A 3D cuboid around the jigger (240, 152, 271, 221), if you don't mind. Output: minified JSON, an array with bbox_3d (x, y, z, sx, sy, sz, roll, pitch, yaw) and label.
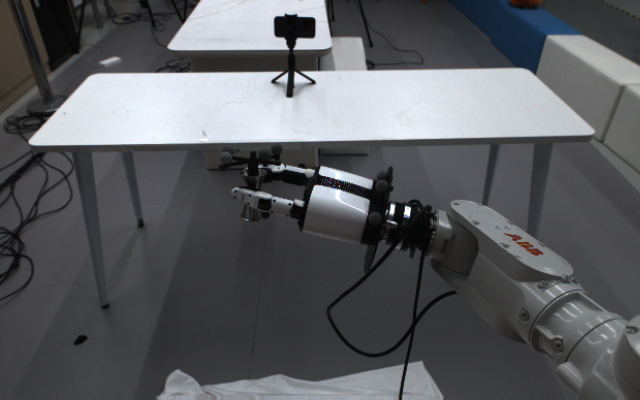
[{"bbox_3d":[-0.096,-0.008,0.704,0.043,0.071,0.043,0,21,0],"label":"jigger"}]
